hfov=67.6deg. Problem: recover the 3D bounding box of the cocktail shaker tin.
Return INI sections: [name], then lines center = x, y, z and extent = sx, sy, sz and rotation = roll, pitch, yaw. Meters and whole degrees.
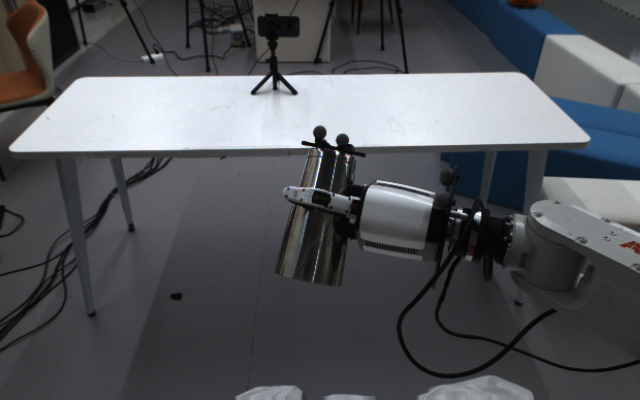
[cocktail shaker tin]
center = 0.001, 0.022, 0.647
extent = 0.093, 0.170, 0.093
rotation = 11, -5, 1
